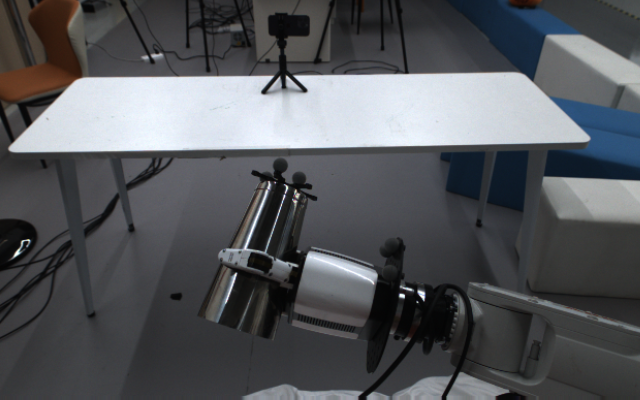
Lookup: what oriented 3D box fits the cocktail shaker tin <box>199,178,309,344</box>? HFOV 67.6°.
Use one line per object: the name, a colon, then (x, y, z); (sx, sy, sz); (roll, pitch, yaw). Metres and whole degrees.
cocktail shaker tin: (-0.072, 0.068, 0.572); (0.093, 0.093, 0.170); (15, 73, 17)
